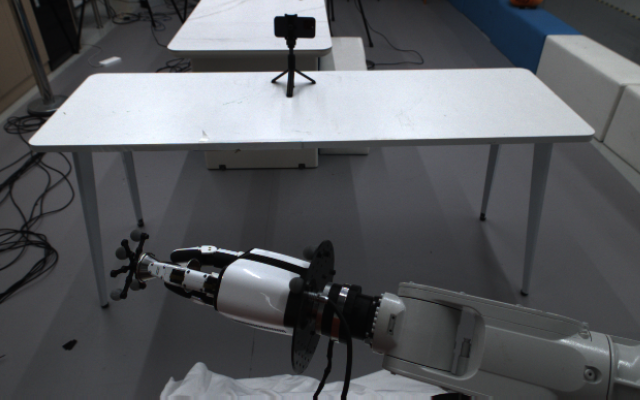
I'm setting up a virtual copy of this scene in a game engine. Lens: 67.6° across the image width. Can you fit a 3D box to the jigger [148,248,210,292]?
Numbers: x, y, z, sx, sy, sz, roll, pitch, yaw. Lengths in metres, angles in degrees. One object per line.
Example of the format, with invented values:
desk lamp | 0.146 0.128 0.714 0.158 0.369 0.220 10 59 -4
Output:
jigger | -0.189 0.090 0.625 0.071 0.043 0.043 7 35 13
